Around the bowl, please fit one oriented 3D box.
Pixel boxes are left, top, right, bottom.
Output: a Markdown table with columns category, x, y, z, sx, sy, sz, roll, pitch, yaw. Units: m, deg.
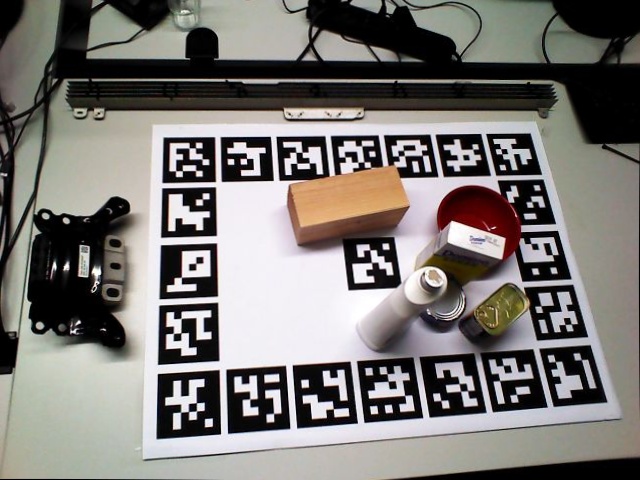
| category | x | y | z | sx | sy | sz | roll | pitch | yaw |
| --- | --- | --- | --- | --- | --- | --- | --- | --- | --- |
| bowl | 0.335 | -0.014 | 0.975 | 0.162 | 0.055 | 0.161 | 1 | 67 | -2 |

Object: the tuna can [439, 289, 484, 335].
| category | x | y | z | sx | sy | sz | roll | pitch | yaw |
| --- | --- | --- | --- | --- | --- | --- | --- | --- | --- |
| tuna can | 0.245 | 0.125 | 0.916 | 0.086 | 0.034 | 0.085 | 2 | 70 | -5 |

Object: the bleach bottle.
| category | x | y | z | sx | sy | sz | roll | pitch | yaw |
| --- | --- | --- | --- | --- | --- | --- | --- | --- | --- |
| bleach bottle | 0.160 | 0.110 | 0.798 | 0.102 | 0.252 | 0.068 | -27 | 72 | -16 |

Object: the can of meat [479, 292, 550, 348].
| category | x | y | z | sx | sy | sz | roll | pitch | yaw |
| --- | --- | --- | --- | --- | --- | --- | --- | --- | --- |
| can of meat | 0.334 | 0.138 | 0.901 | 0.101 | 0.084 | 0.058 | -31 | 71 | -19 |

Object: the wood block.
| category | x | y | z | sx | sy | sz | roll | pitch | yaw |
| --- | --- | --- | --- | --- | --- | --- | --- | --- | --- |
| wood block | 0.076 | -0.052 | 0.946 | 0.206 | 0.090 | 0.090 | -11 | 73 | -12 |

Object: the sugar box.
| category | x | y | z | sx | sy | sz | roll | pitch | yaw |
| --- | --- | --- | --- | --- | --- | --- | --- | --- | --- |
| sugar box | 0.270 | 0.040 | 0.877 | 0.093 | 0.177 | 0.045 | 16 | 68 | 4 |
